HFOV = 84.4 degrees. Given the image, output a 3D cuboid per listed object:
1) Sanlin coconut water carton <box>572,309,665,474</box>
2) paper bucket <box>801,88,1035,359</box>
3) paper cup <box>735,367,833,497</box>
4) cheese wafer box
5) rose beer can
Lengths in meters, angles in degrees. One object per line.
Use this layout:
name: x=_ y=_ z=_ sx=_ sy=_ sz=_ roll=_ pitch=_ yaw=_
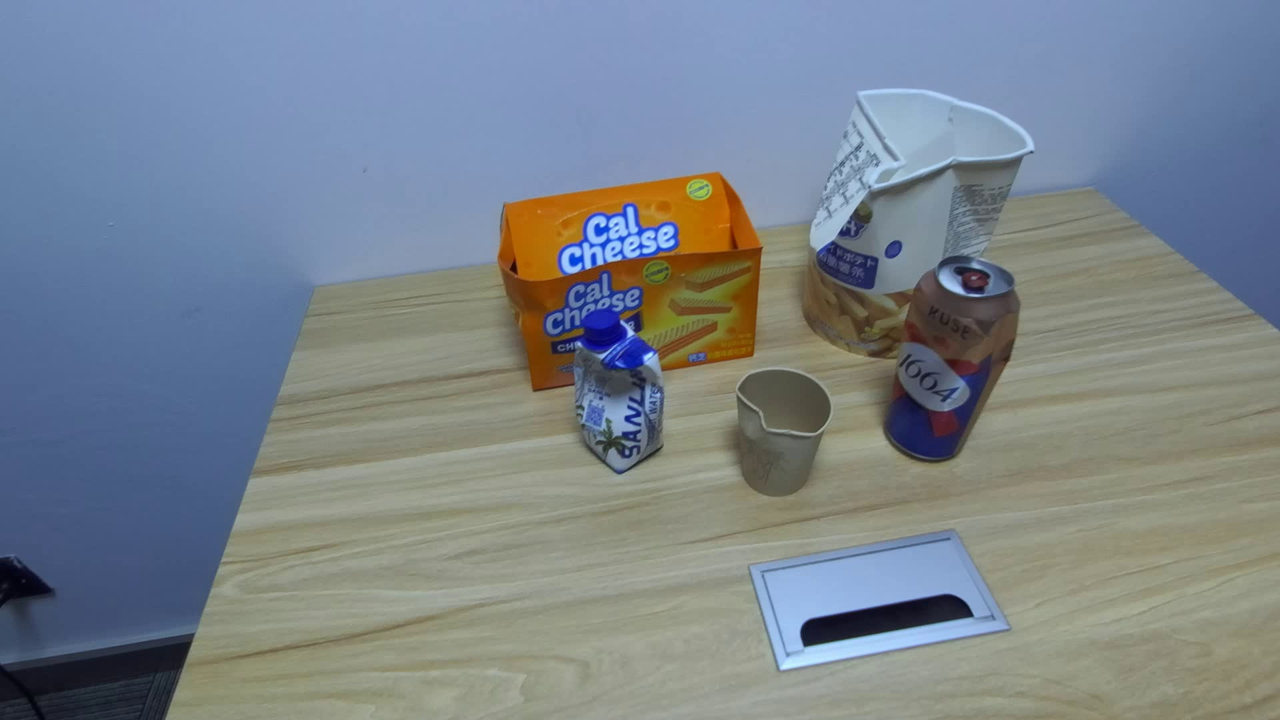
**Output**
Sanlin coconut water carton: x=-0.018 y=0.029 z=0.561 sx=0.057 sy=0.145 sz=0.068 roll=-35 pitch=57 yaw=-22
paper bucket: x=0.235 y=-0.128 z=0.675 sx=0.169 sy=0.202 sz=0.162 roll=-13 pitch=41 yaw=-14
paper cup: x=0.110 y=0.060 z=0.556 sx=0.073 sy=0.081 sz=0.069 roll=4 pitch=41 yaw=7
cheese wafer box: x=-0.012 y=-0.076 z=0.689 sx=0.231 sy=0.132 sz=0.152 roll=-9 pitch=44 yaw=-5
rose beer can: x=0.243 y=0.003 z=0.554 sx=0.065 sy=0.167 sz=0.075 roll=-13 pitch=39 yaw=-14
